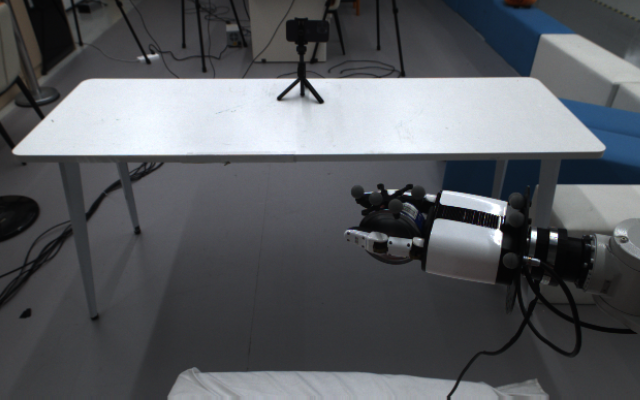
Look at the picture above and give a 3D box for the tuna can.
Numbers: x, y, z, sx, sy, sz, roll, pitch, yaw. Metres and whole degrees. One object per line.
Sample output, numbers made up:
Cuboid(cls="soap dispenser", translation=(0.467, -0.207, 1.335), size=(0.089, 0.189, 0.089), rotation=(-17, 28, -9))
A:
Cuboid(cls="tuna can", translation=(0.098, 0.040, 0.638), size=(0.085, 0.085, 0.034), rotation=(15, 34, 17))
